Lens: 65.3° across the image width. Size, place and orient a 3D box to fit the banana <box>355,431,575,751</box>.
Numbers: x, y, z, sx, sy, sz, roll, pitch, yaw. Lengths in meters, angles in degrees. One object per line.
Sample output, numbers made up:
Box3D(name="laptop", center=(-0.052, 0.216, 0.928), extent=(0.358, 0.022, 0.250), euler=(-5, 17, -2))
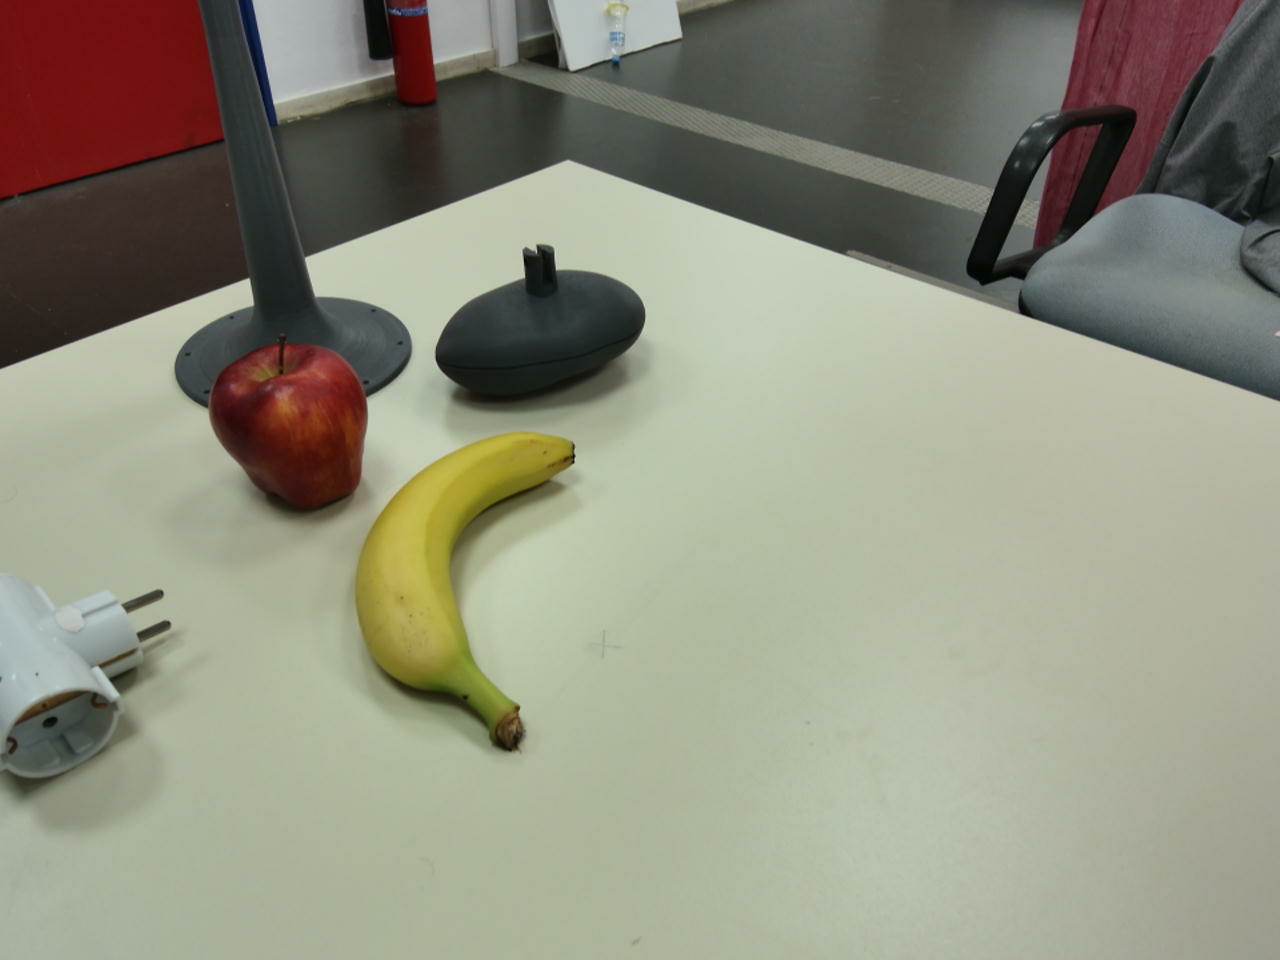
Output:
Box3D(name="banana", center=(-0.089, 0.038, 0.490), extent=(0.094, 0.041, 0.196), euler=(4, 36, 3))
